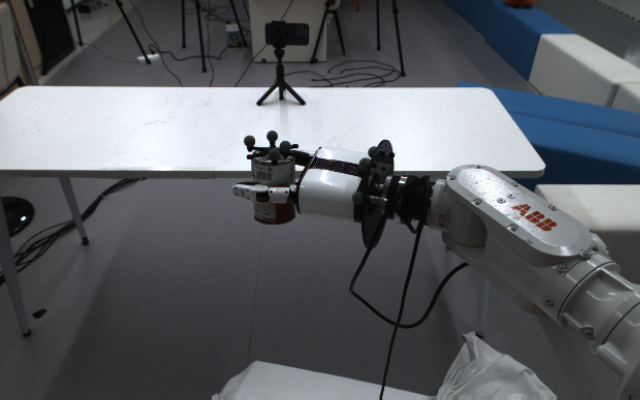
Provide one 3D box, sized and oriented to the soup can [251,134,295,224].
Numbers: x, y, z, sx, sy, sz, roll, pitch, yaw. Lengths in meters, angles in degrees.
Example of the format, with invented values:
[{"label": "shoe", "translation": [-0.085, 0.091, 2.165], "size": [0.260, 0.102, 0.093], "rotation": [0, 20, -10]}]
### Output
[{"label": "soup can", "translation": [-0.071, -0.021, 0.743], "size": [0.067, 0.101, 0.067], "rotation": [1, 25, 0]}]
